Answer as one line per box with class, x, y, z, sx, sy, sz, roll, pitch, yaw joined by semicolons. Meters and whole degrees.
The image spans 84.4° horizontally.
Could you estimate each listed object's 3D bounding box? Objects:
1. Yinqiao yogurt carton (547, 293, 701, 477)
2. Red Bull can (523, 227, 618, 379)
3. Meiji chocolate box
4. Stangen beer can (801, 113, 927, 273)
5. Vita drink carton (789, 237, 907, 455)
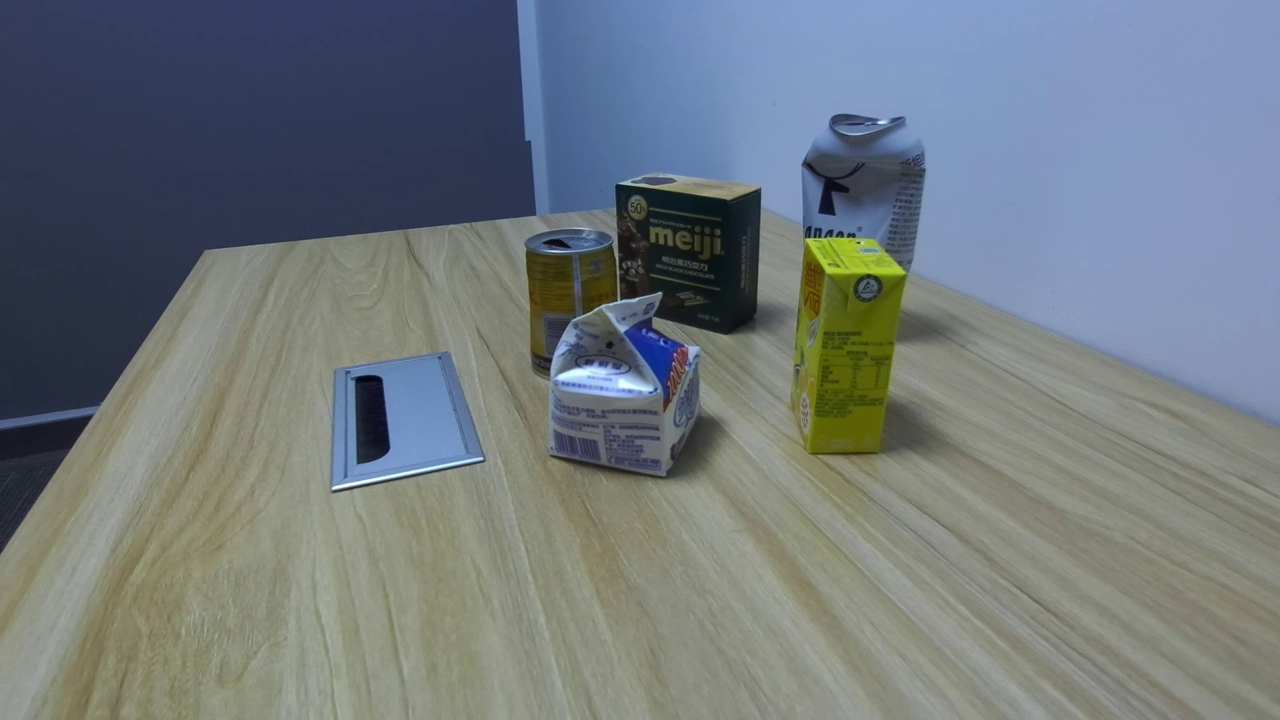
Yinqiao yogurt carton;-0.009;0.004;0.396;0.077;0.093;0.083;8;27;18
Red Bull can;-0.047;-0.036;0.494;0.069;0.092;0.069;-1;20;1
Meiji chocolate box;0.039;-0.088;0.574;0.109;0.109;0.056;17;31;33
Stangen beer can;0.161;-0.096;0.525;0.077;0.162;0.065;-3;27;-2
Vita drink carton;0.116;-0.008;0.402;0.043;0.109;0.066;0;25;2
